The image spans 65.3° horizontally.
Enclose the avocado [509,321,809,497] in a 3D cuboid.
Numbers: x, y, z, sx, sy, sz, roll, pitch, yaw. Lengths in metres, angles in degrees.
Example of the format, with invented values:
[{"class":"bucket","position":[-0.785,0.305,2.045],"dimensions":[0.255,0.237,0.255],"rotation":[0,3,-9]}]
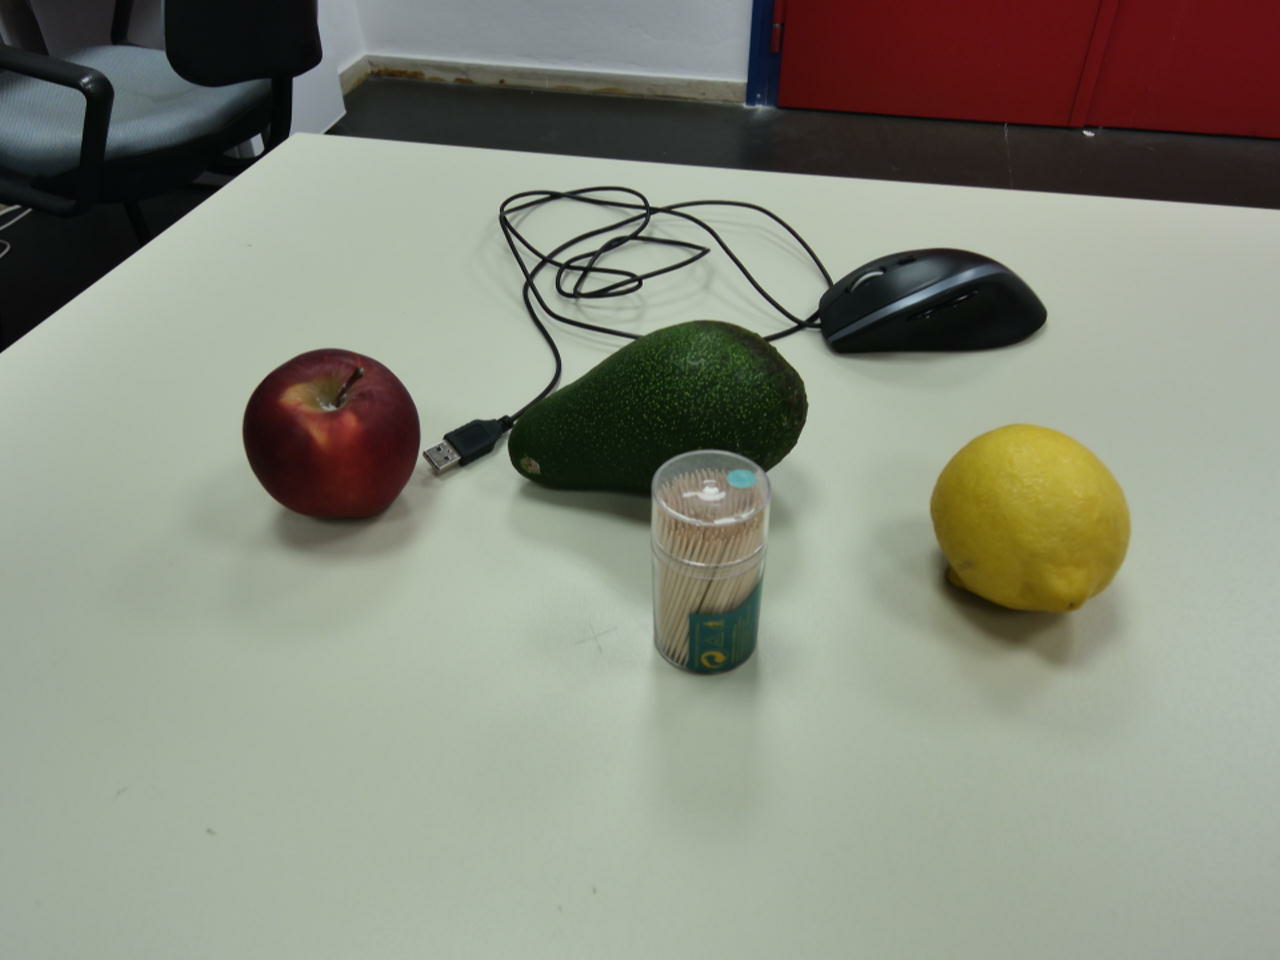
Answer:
[{"class":"avocado","position":[0.009,-0.033,0.424],"dimensions":[0.123,0.076,0.074],"rotation":[12,40,16]}]
